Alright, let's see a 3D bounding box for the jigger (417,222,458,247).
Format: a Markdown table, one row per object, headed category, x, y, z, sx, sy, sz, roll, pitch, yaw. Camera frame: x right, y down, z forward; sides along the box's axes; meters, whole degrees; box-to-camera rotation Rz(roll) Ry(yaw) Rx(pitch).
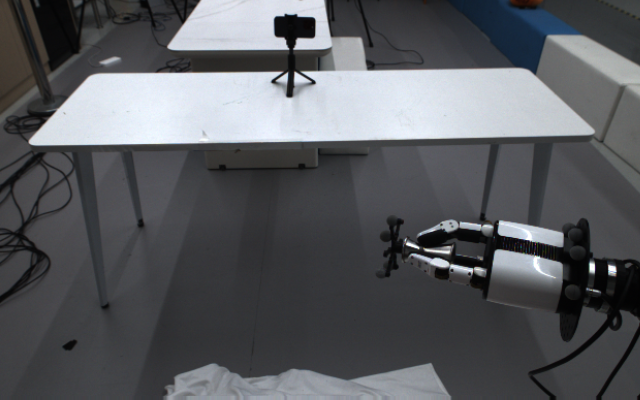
| category | x | y | z | sx | sy | sz | roll | pitch | yaw |
| --- | --- | --- | --- | --- | --- | --- | --- | --- | --- |
| jigger | 0.160 | 0.072 | 0.683 | 0.071 | 0.043 | 0.043 | 8 | 34 | 23 |
